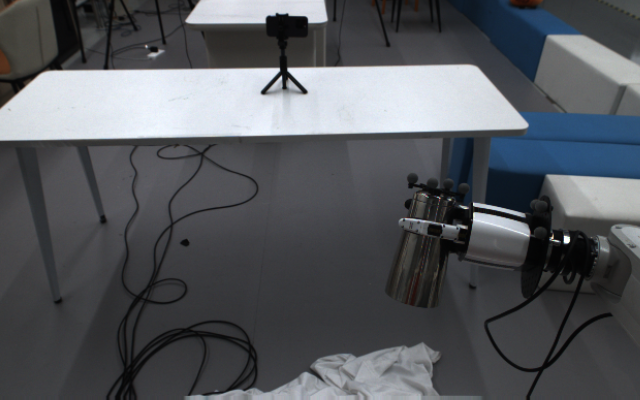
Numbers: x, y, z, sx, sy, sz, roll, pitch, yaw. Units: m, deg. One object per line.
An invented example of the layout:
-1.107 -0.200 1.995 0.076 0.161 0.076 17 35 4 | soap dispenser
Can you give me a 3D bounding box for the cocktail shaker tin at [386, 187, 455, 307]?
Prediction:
0.169 0.071 0.775 0.093 0.170 0.093 10 9 -2 | cocktail shaker tin
